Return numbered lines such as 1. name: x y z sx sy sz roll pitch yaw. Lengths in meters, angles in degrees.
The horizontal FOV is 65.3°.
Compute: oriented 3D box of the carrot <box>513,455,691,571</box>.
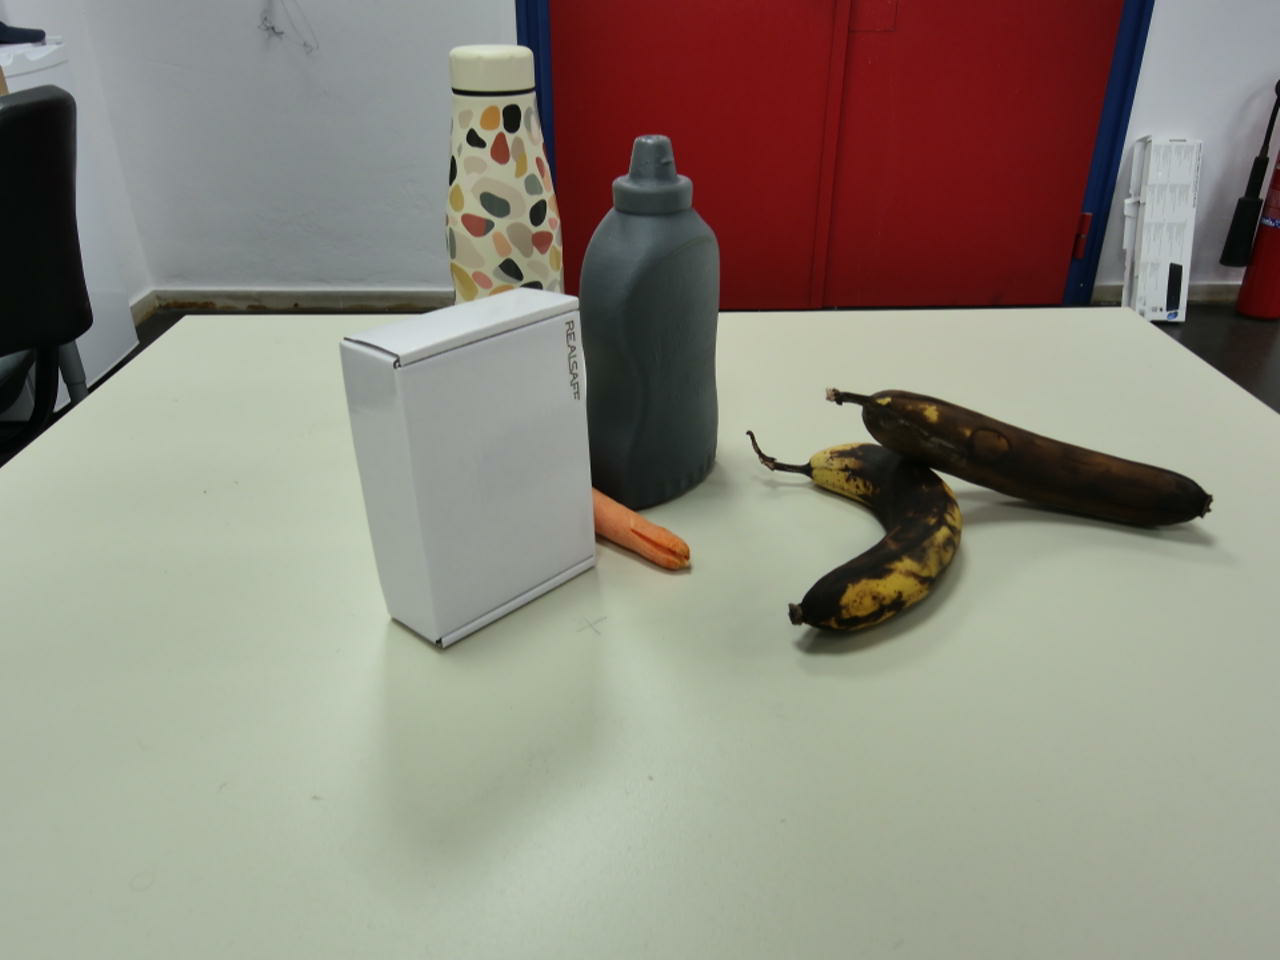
1. carrot: -0.025 0.016 0.569 0.136 0.032 0.030 23 34 39
